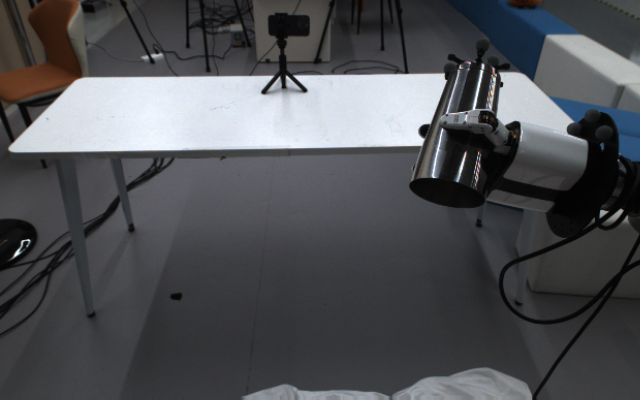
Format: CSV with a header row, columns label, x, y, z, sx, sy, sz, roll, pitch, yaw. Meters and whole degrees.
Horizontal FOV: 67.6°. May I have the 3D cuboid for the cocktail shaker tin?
label,x,y,z,sx,sy,sz,roll,pitch,yaw
cocktail shaker tin,0.181,-0.085,0.613,0.093,0.093,0.170,13,74,15
